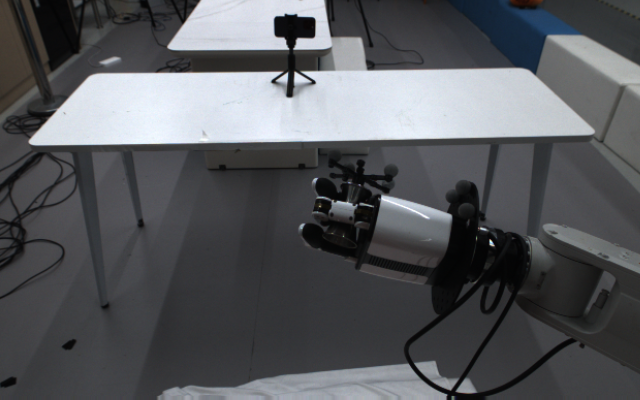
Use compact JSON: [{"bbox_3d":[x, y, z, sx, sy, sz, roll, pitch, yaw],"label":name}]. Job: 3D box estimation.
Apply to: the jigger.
[{"bbox_3d":[0.037,0.018,0.577,0.043,0.043,0.071,12,71,14],"label":"jigger"}]
